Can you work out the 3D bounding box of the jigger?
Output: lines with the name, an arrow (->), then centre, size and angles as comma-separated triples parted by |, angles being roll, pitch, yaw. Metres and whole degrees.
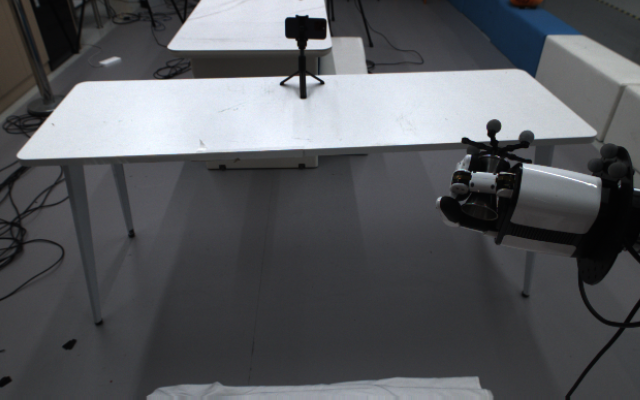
jigger -> 0.200, -0.018, 0.583 | 0.043, 0.043, 0.071 | 16, 70, 19
